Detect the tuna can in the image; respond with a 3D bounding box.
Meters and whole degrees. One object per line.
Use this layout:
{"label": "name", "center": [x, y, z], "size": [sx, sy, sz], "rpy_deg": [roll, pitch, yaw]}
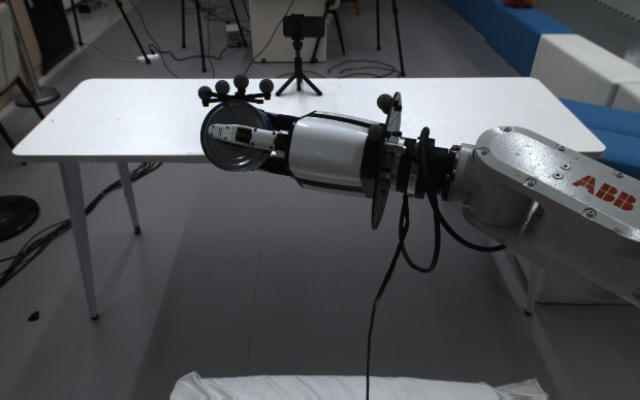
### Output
{"label": "tuna can", "center": [-0.097, -0.077, 0.594], "size": [0.085, 0.085, 0.034], "rpy_deg": [10, 2, 11]}
